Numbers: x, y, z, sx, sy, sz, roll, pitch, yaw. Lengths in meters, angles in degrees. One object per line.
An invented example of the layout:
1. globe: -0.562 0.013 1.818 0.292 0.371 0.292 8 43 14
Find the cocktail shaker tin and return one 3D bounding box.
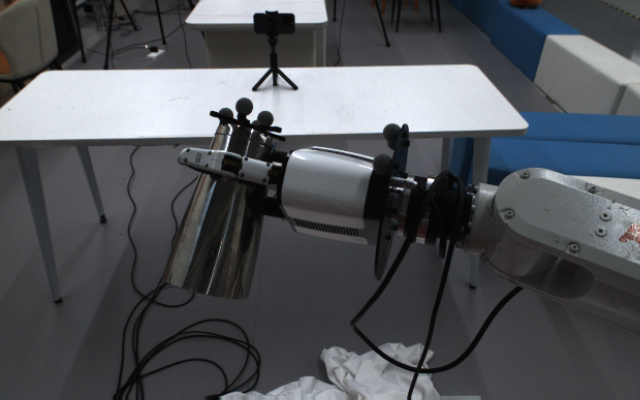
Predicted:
1. cocktail shaker tin: -0.098 0.009 0.519 0.093 0.170 0.093 14 -5 1
